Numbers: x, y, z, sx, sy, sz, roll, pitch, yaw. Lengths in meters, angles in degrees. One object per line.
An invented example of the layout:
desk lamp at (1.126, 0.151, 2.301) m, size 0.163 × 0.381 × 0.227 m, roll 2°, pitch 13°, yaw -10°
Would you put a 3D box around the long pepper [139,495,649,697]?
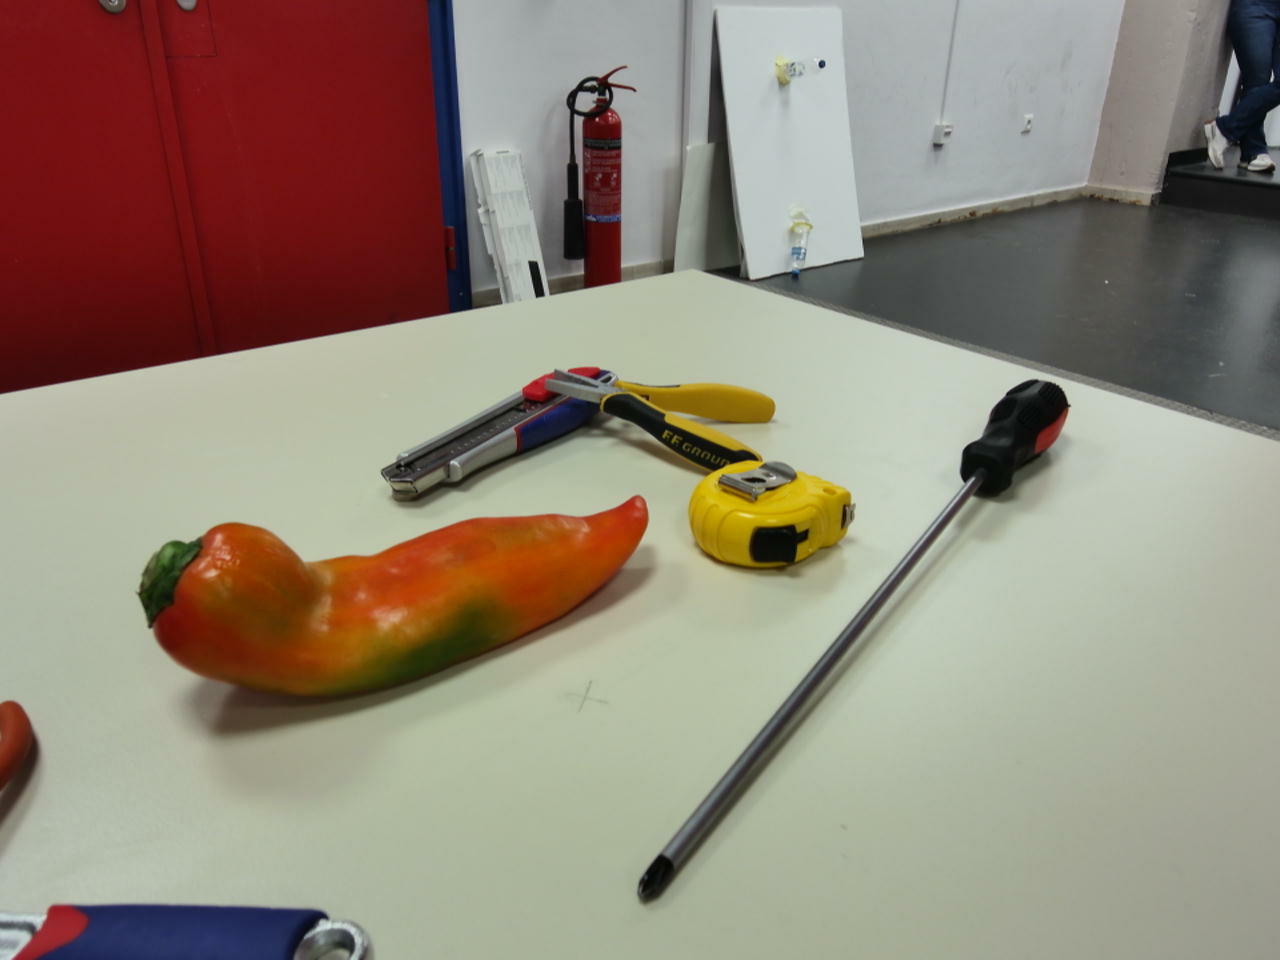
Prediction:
long pepper at (-0.076, 0.029, 0.375) m, size 0.199 × 0.065 × 0.066 m, roll -15°, pitch 27°, yaw -31°
